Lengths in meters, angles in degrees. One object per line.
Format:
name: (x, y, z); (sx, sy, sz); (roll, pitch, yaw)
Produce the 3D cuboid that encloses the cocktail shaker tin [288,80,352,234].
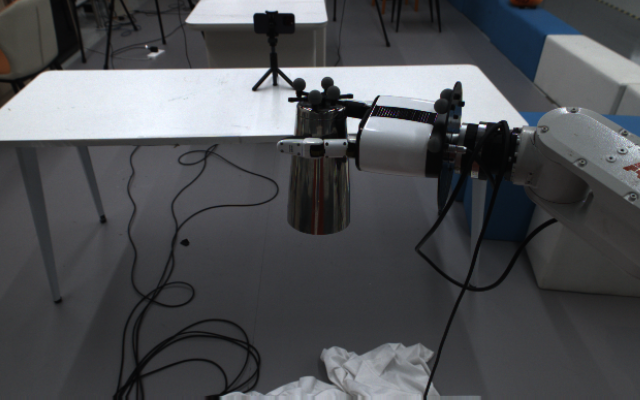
cocktail shaker tin: (0.002, -0.051, 0.670); (0.093, 0.170, 0.093); (1, 27, -1)
